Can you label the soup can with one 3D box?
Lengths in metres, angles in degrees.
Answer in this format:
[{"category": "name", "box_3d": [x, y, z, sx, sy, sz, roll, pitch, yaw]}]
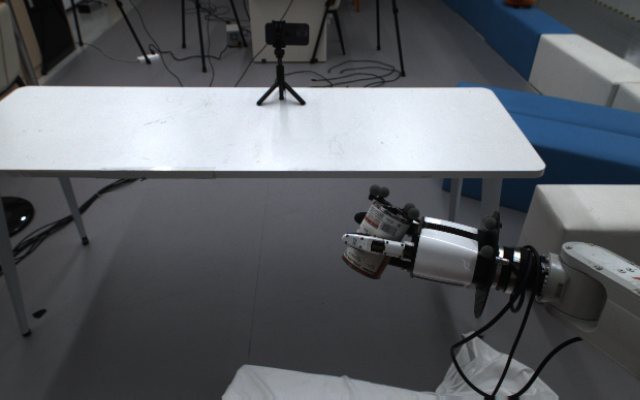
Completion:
[{"category": "soup can", "box_3d": [0.087, 0.061, 0.740, 0.067, 0.101, 0.067, 27, 10, -5]}]
